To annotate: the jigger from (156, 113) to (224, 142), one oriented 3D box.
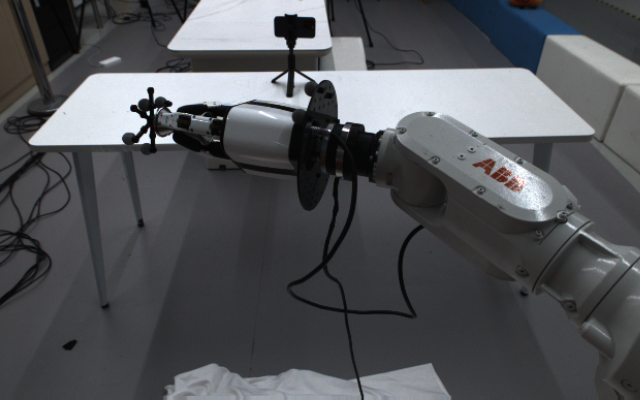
[{"bbox_3d":[-0.172,-0.101,0.636,0.071,0.043,0.043,10,35,16],"label":"jigger"}]
